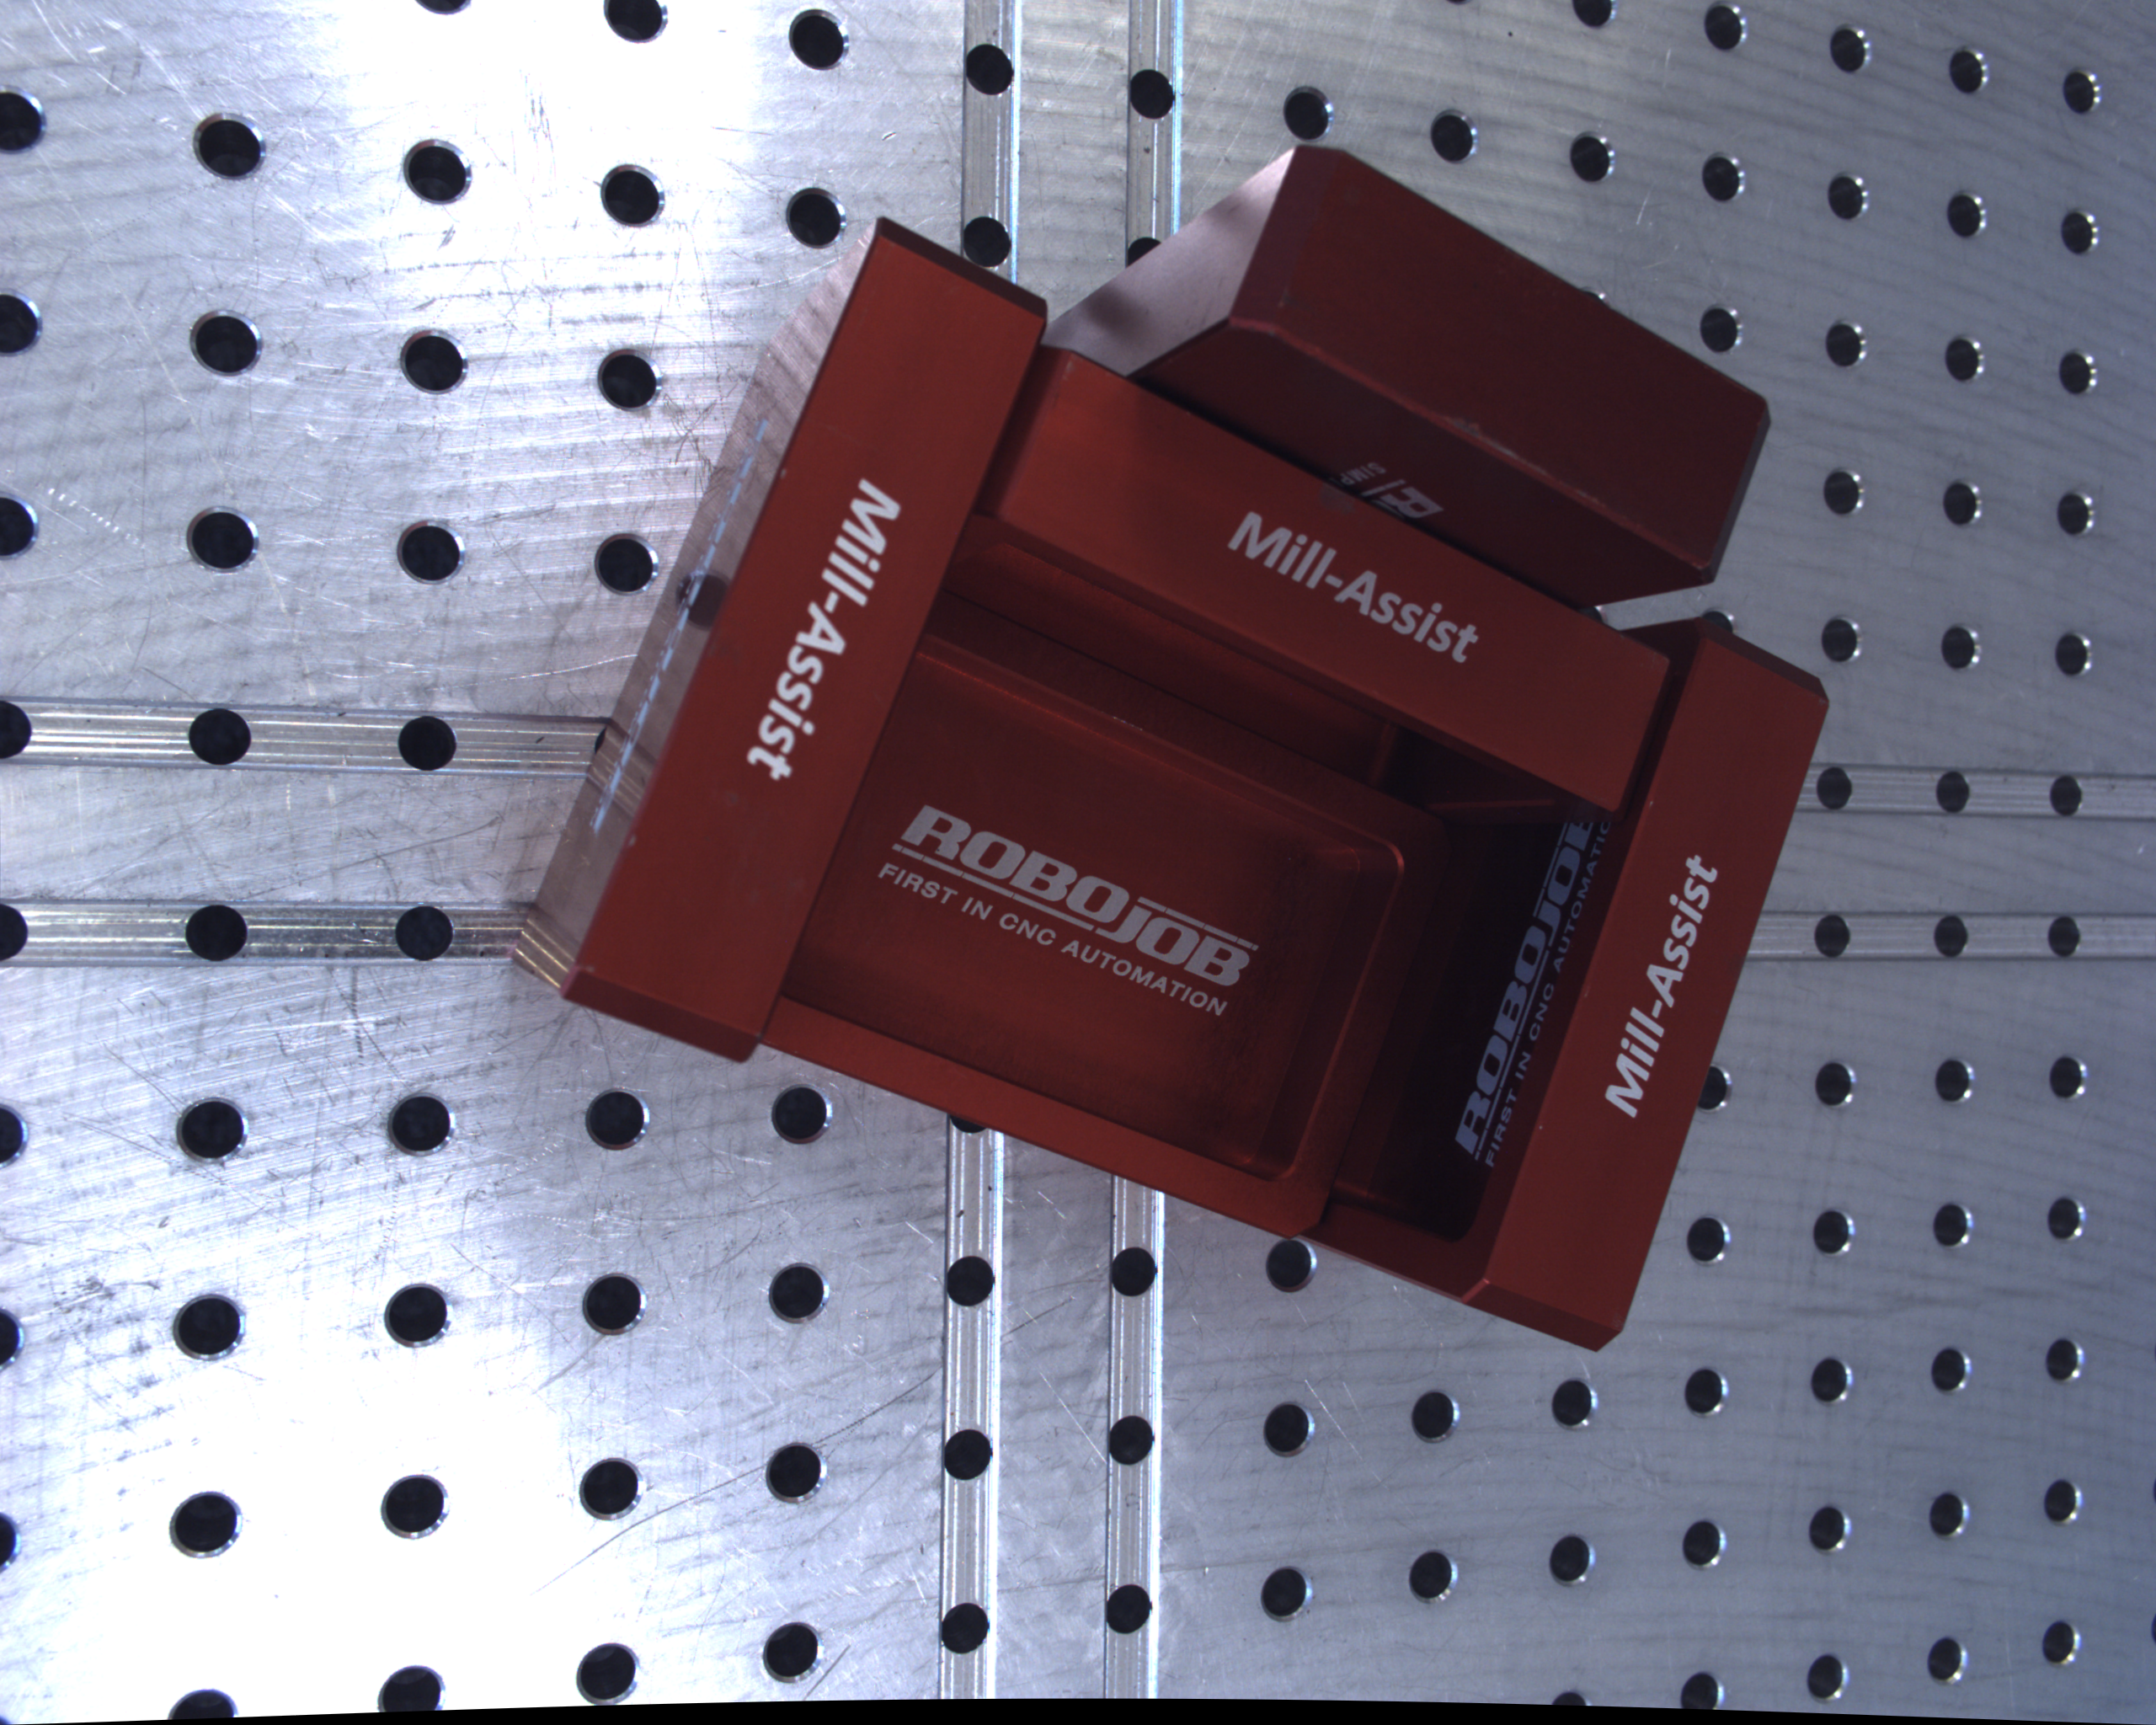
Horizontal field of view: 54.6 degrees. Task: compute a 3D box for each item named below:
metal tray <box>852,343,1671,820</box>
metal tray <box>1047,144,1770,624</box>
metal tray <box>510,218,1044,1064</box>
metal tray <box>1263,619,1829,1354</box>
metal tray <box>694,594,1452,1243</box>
[{"bbox_3d":[0.031,-0.046,0.389,0.131,0.090,0.030,23,83,-19],"label":"metal tray"},{"bbox_3d":[0.045,-0.075,0.372,0.090,0.130,0.030,24,83,-19],"label":"metal tray"},{"bbox_3d":[-0.055,-0.035,0.357,0.030,0.090,0.130,23,82,-19],"label":"metal tray"},{"bbox_3d":[0.088,0.021,0.409,0.030,0.090,0.130,23,83,-19],"label":"metal tray"},{"bbox_3d":[0.000,0.011,0.409,0.131,0.030,0.090,23,82,-19],"label":"metal tray"}]
